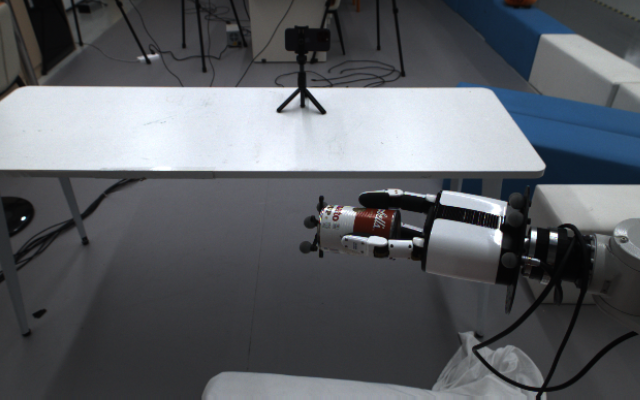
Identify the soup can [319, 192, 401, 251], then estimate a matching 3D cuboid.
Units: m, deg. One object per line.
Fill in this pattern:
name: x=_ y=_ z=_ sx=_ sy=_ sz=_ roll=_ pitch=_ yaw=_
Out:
soup can: x=0.057 y=0.043 z=0.659 sx=0.101 sy=0.067 sz=0.067 roll=5 pitch=34 yaw=18
